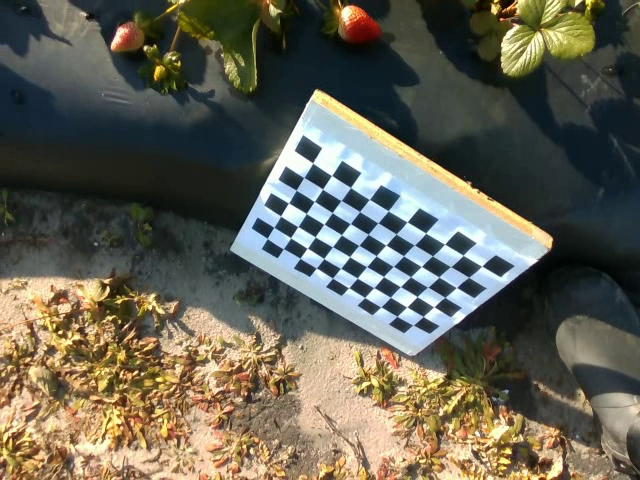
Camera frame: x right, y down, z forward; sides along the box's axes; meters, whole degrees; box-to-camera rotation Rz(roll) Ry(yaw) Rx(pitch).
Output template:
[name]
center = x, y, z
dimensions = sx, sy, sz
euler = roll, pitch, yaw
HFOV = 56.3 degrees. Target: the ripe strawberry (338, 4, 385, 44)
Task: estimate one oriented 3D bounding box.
[ripe strawberry]
center = 0.046, -0.235, 0.653
dimensions = 0.063, 0.045, 0.044
euler = 17, 47, 6
